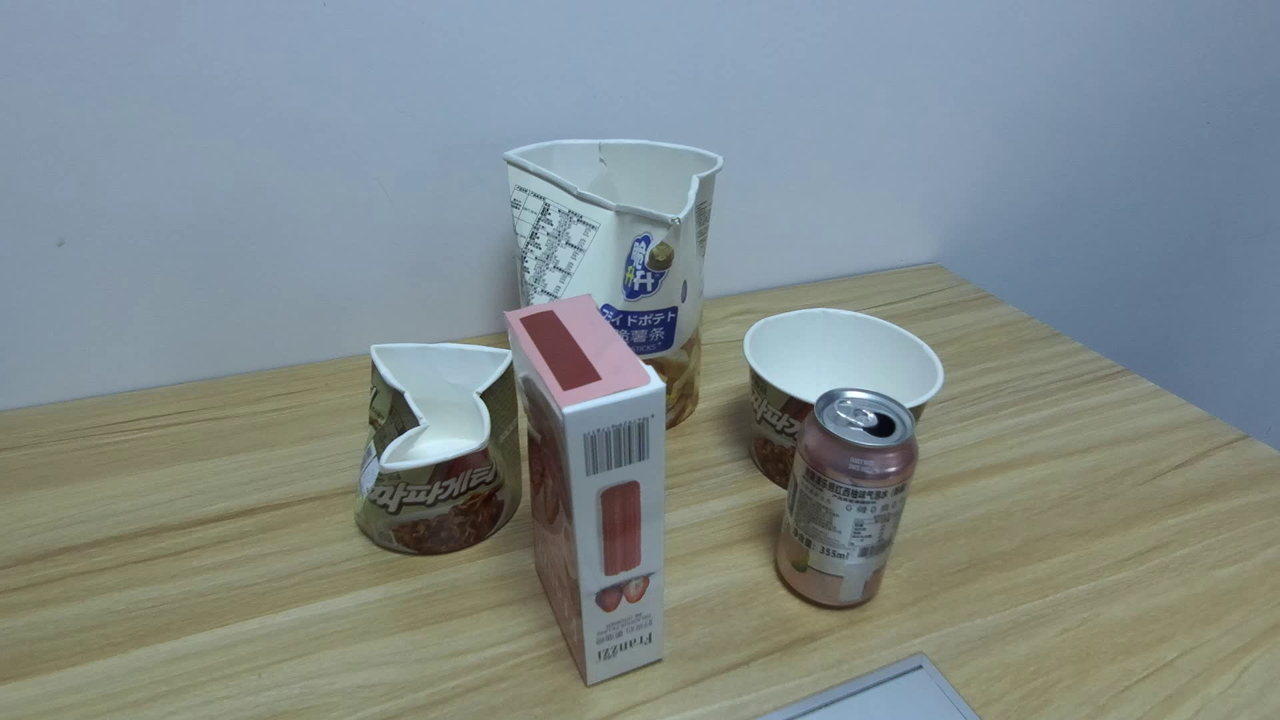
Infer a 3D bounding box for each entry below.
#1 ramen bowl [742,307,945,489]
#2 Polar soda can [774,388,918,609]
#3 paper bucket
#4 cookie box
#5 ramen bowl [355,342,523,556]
[{"bbox_3d":[0.149,0.037,0.543,0.140,0.095,0.140,0,32,0],"label":"ramen bowl"},{"bbox_3d":[0.120,0.081,0.414,0.067,0.125,0.067,1,31,-1],"label":"Polar soda can"},{"bbox_3d":[-0.028,-0.058,0.570,0.162,0.202,0.169,8,30,13],"label":"paper bucket"},{"bbox_3d":[-0.029,0.068,0.376,0.049,0.188,0.104,-13,33,-20],"label":"cookie box"},{"bbox_3d":[-0.138,0.062,0.467,0.111,0.093,0.128,1,33,-1],"label":"ramen bowl"}]
